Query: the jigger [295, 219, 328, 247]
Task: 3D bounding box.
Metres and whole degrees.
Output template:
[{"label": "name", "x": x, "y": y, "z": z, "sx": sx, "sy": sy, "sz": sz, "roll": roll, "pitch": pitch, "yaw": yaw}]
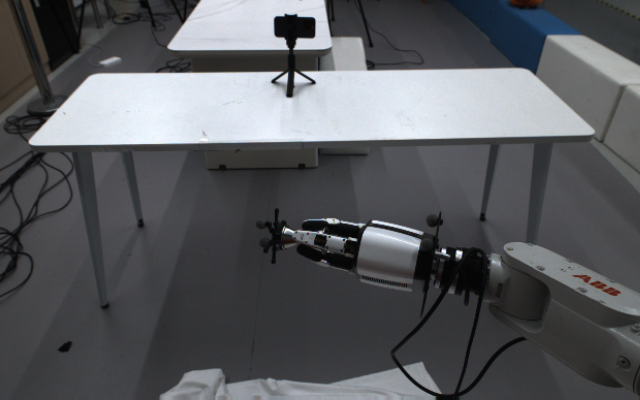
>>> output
[{"label": "jigger", "x": -0.015, "y": 0.056, "z": 0.762, "sx": 0.071, "sy": 0.043, "sz": 0.043, "roll": 2, "pitch": 34, "yaw": 16}]
